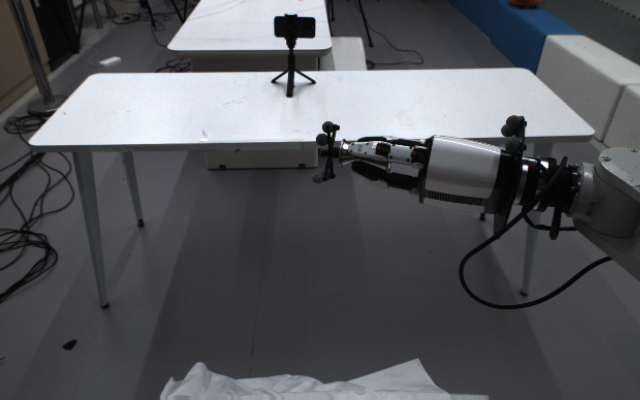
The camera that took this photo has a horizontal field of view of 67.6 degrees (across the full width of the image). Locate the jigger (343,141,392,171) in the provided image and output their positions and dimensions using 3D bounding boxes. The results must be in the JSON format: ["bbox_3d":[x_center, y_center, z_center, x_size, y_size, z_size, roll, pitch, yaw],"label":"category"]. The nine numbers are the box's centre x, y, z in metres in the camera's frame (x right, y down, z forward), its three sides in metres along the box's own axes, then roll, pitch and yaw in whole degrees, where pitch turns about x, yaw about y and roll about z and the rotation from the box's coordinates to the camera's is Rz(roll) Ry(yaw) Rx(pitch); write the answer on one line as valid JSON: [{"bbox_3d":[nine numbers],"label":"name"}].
[{"bbox_3d":[0.069,-0.065,0.667,0.071,0.043,0.043,6,35,14],"label":"jigger"}]
